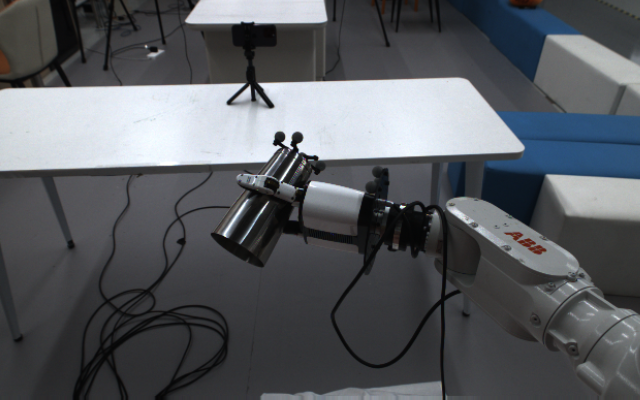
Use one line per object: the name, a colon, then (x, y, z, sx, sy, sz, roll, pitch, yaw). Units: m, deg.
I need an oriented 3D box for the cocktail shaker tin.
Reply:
cocktail shaker tin: (-0.079, 0.003, 0.736, 0.093, 0.093, 0.170, 20, 67, 24)
